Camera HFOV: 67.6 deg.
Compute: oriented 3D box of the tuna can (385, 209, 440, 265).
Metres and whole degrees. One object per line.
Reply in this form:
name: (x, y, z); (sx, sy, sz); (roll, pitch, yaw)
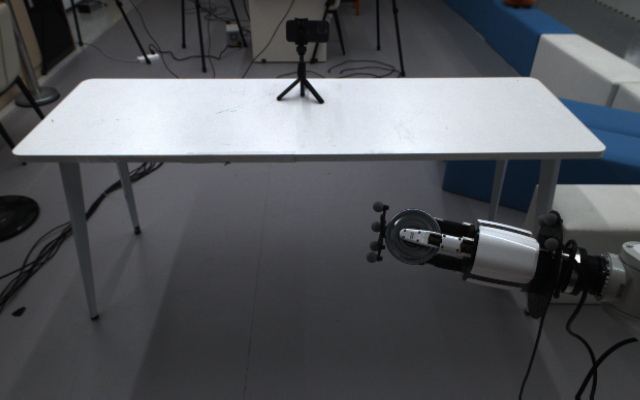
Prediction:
tuna can: (0.144, 0.053, 0.744); (0.085, 0.085, 0.034); (10, -7, 11)
